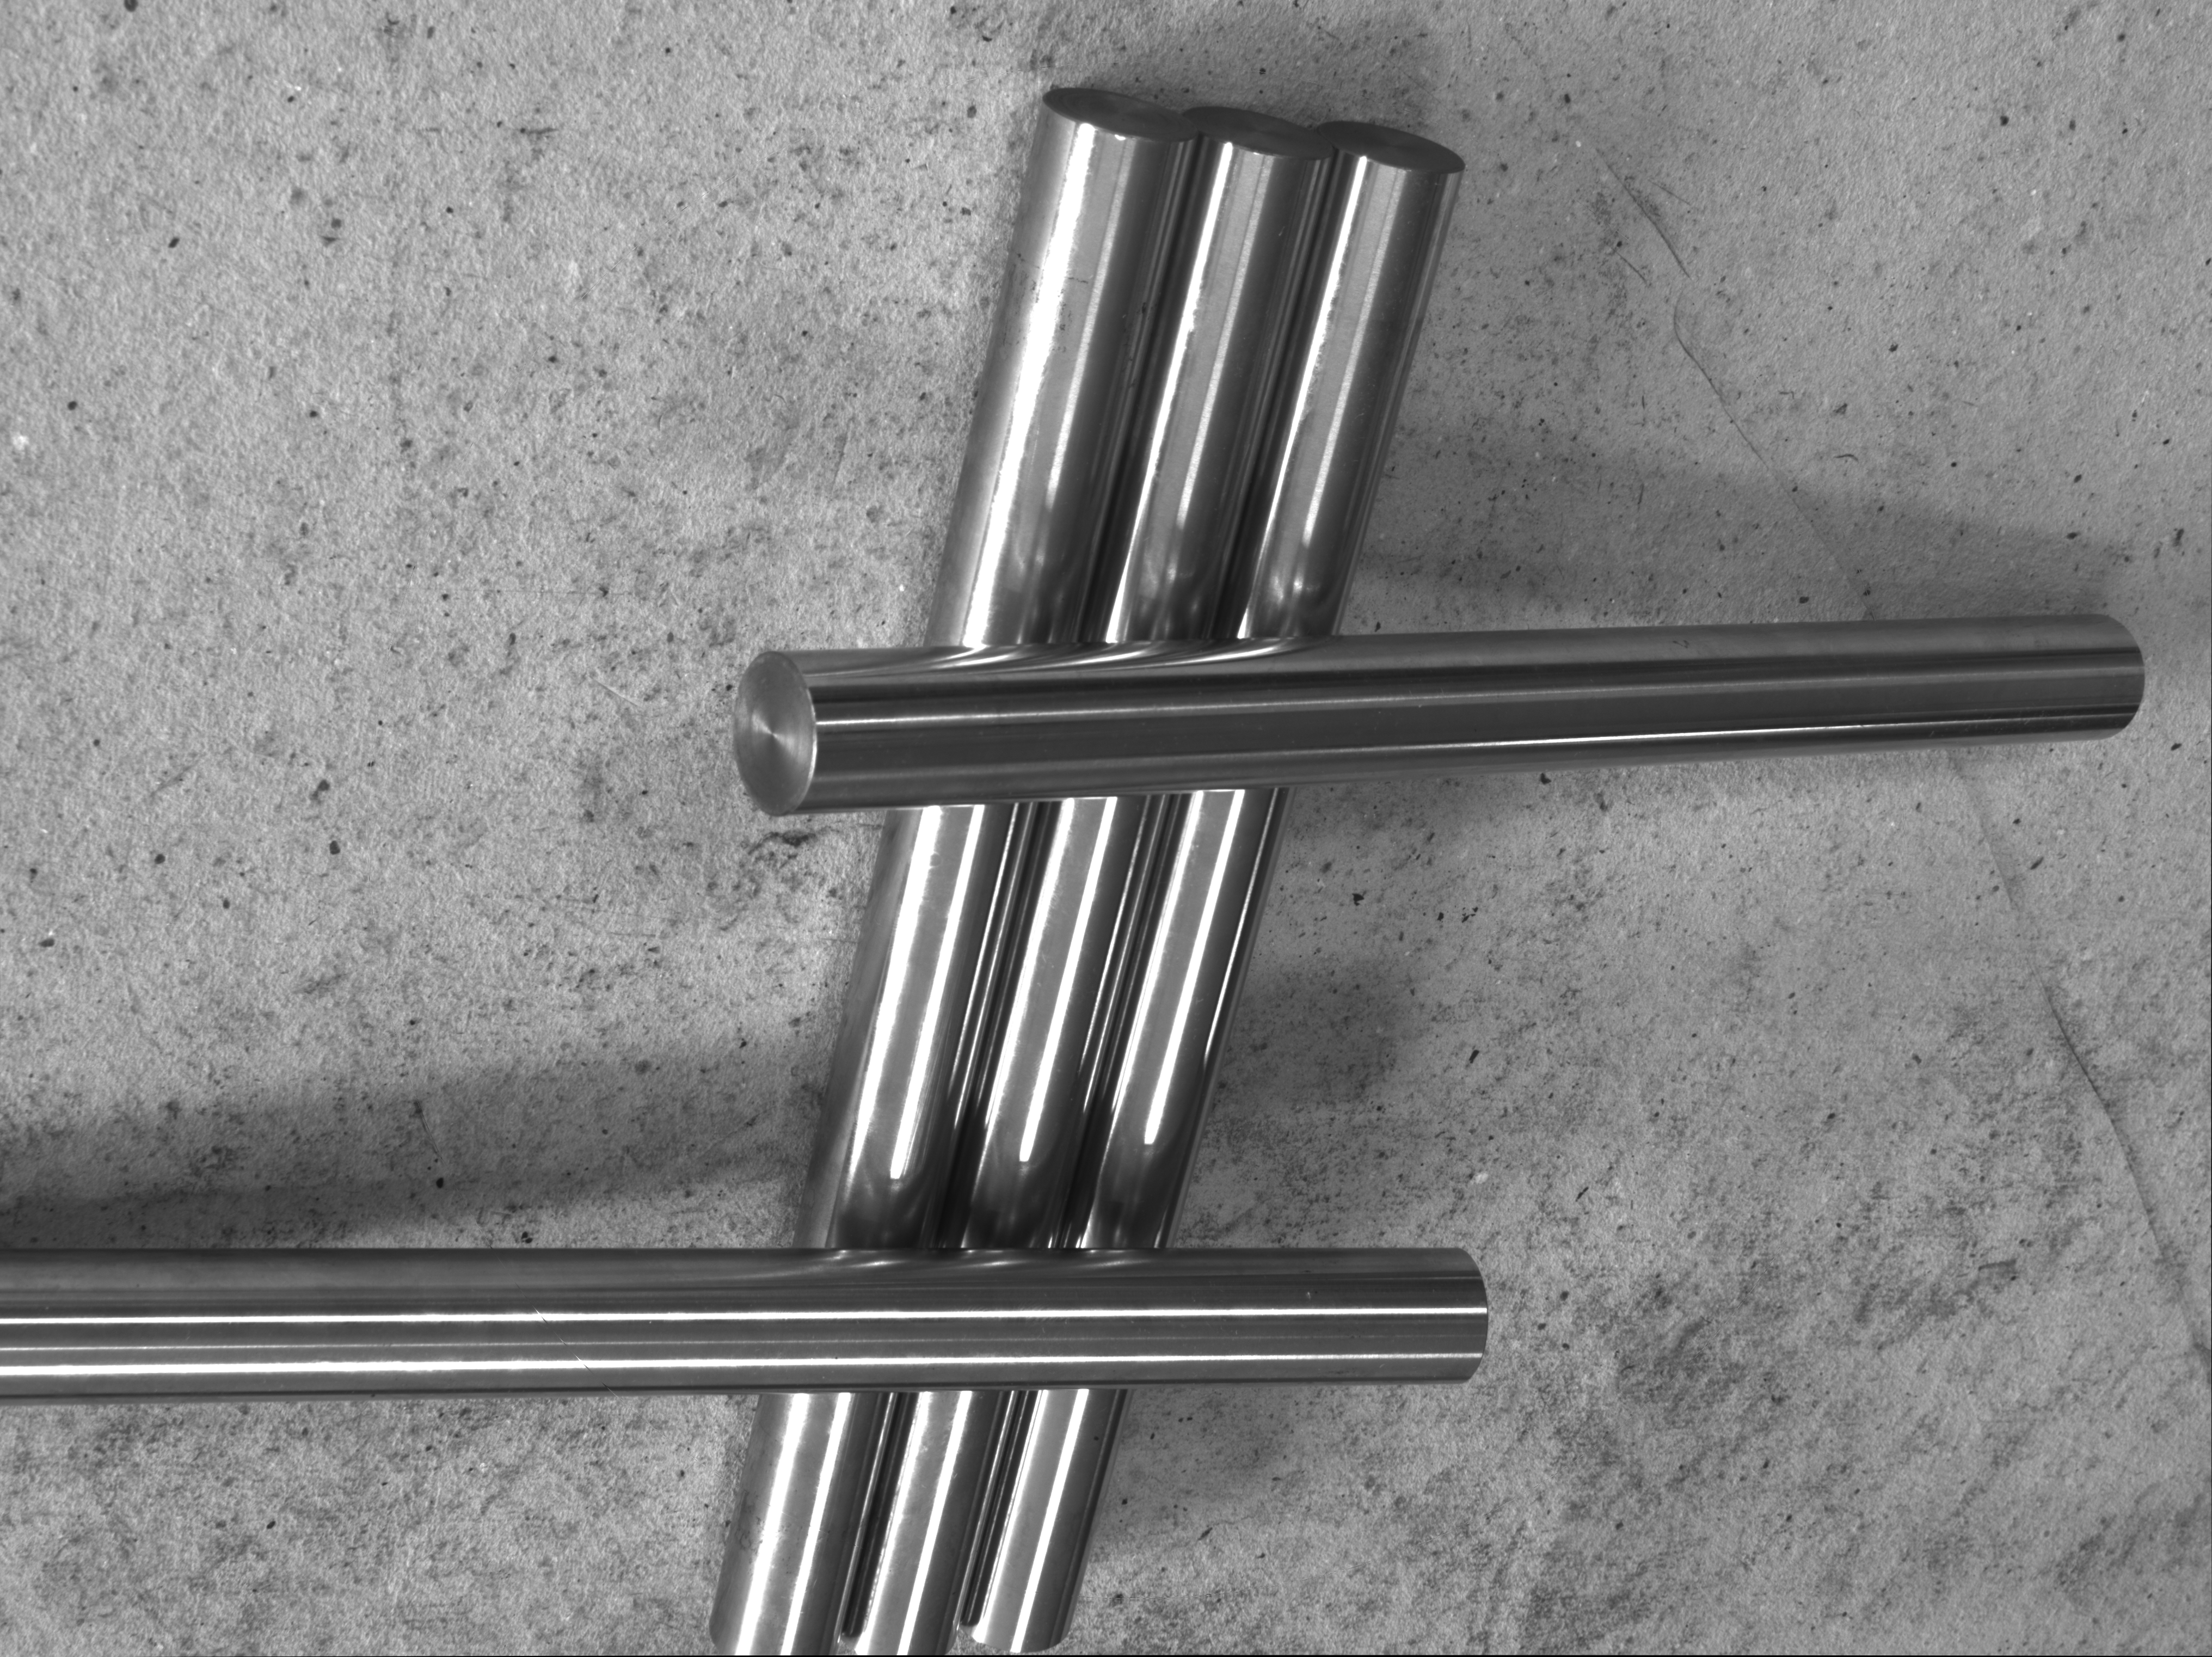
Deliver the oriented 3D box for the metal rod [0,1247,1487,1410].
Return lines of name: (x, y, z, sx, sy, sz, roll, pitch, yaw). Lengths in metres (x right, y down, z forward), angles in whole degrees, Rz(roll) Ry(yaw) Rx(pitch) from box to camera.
metal rod: (-0.075, 0.084, 0.623, 0.301, 0.025, 0.025, 2, 117, -21)

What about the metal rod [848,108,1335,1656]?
metal rod: (-0.008, 0.022, 0.645, 0.025, 0.025, 0.300, 0, 118, -28)

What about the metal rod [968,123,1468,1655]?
metal rod: (0.014, 0.022, 0.657, 0.025, 0.025, 0.300, 0, 118, -28)

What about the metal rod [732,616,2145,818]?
metal rod: (0.073, -0.022, 0.638, 0.301, 0.025, 0.025, -4, 120, -35)

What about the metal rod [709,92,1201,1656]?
metal rod: (-0.030, 0.022, 0.634, 0.025, 0.025, 0.300, 0, 118, -28)
